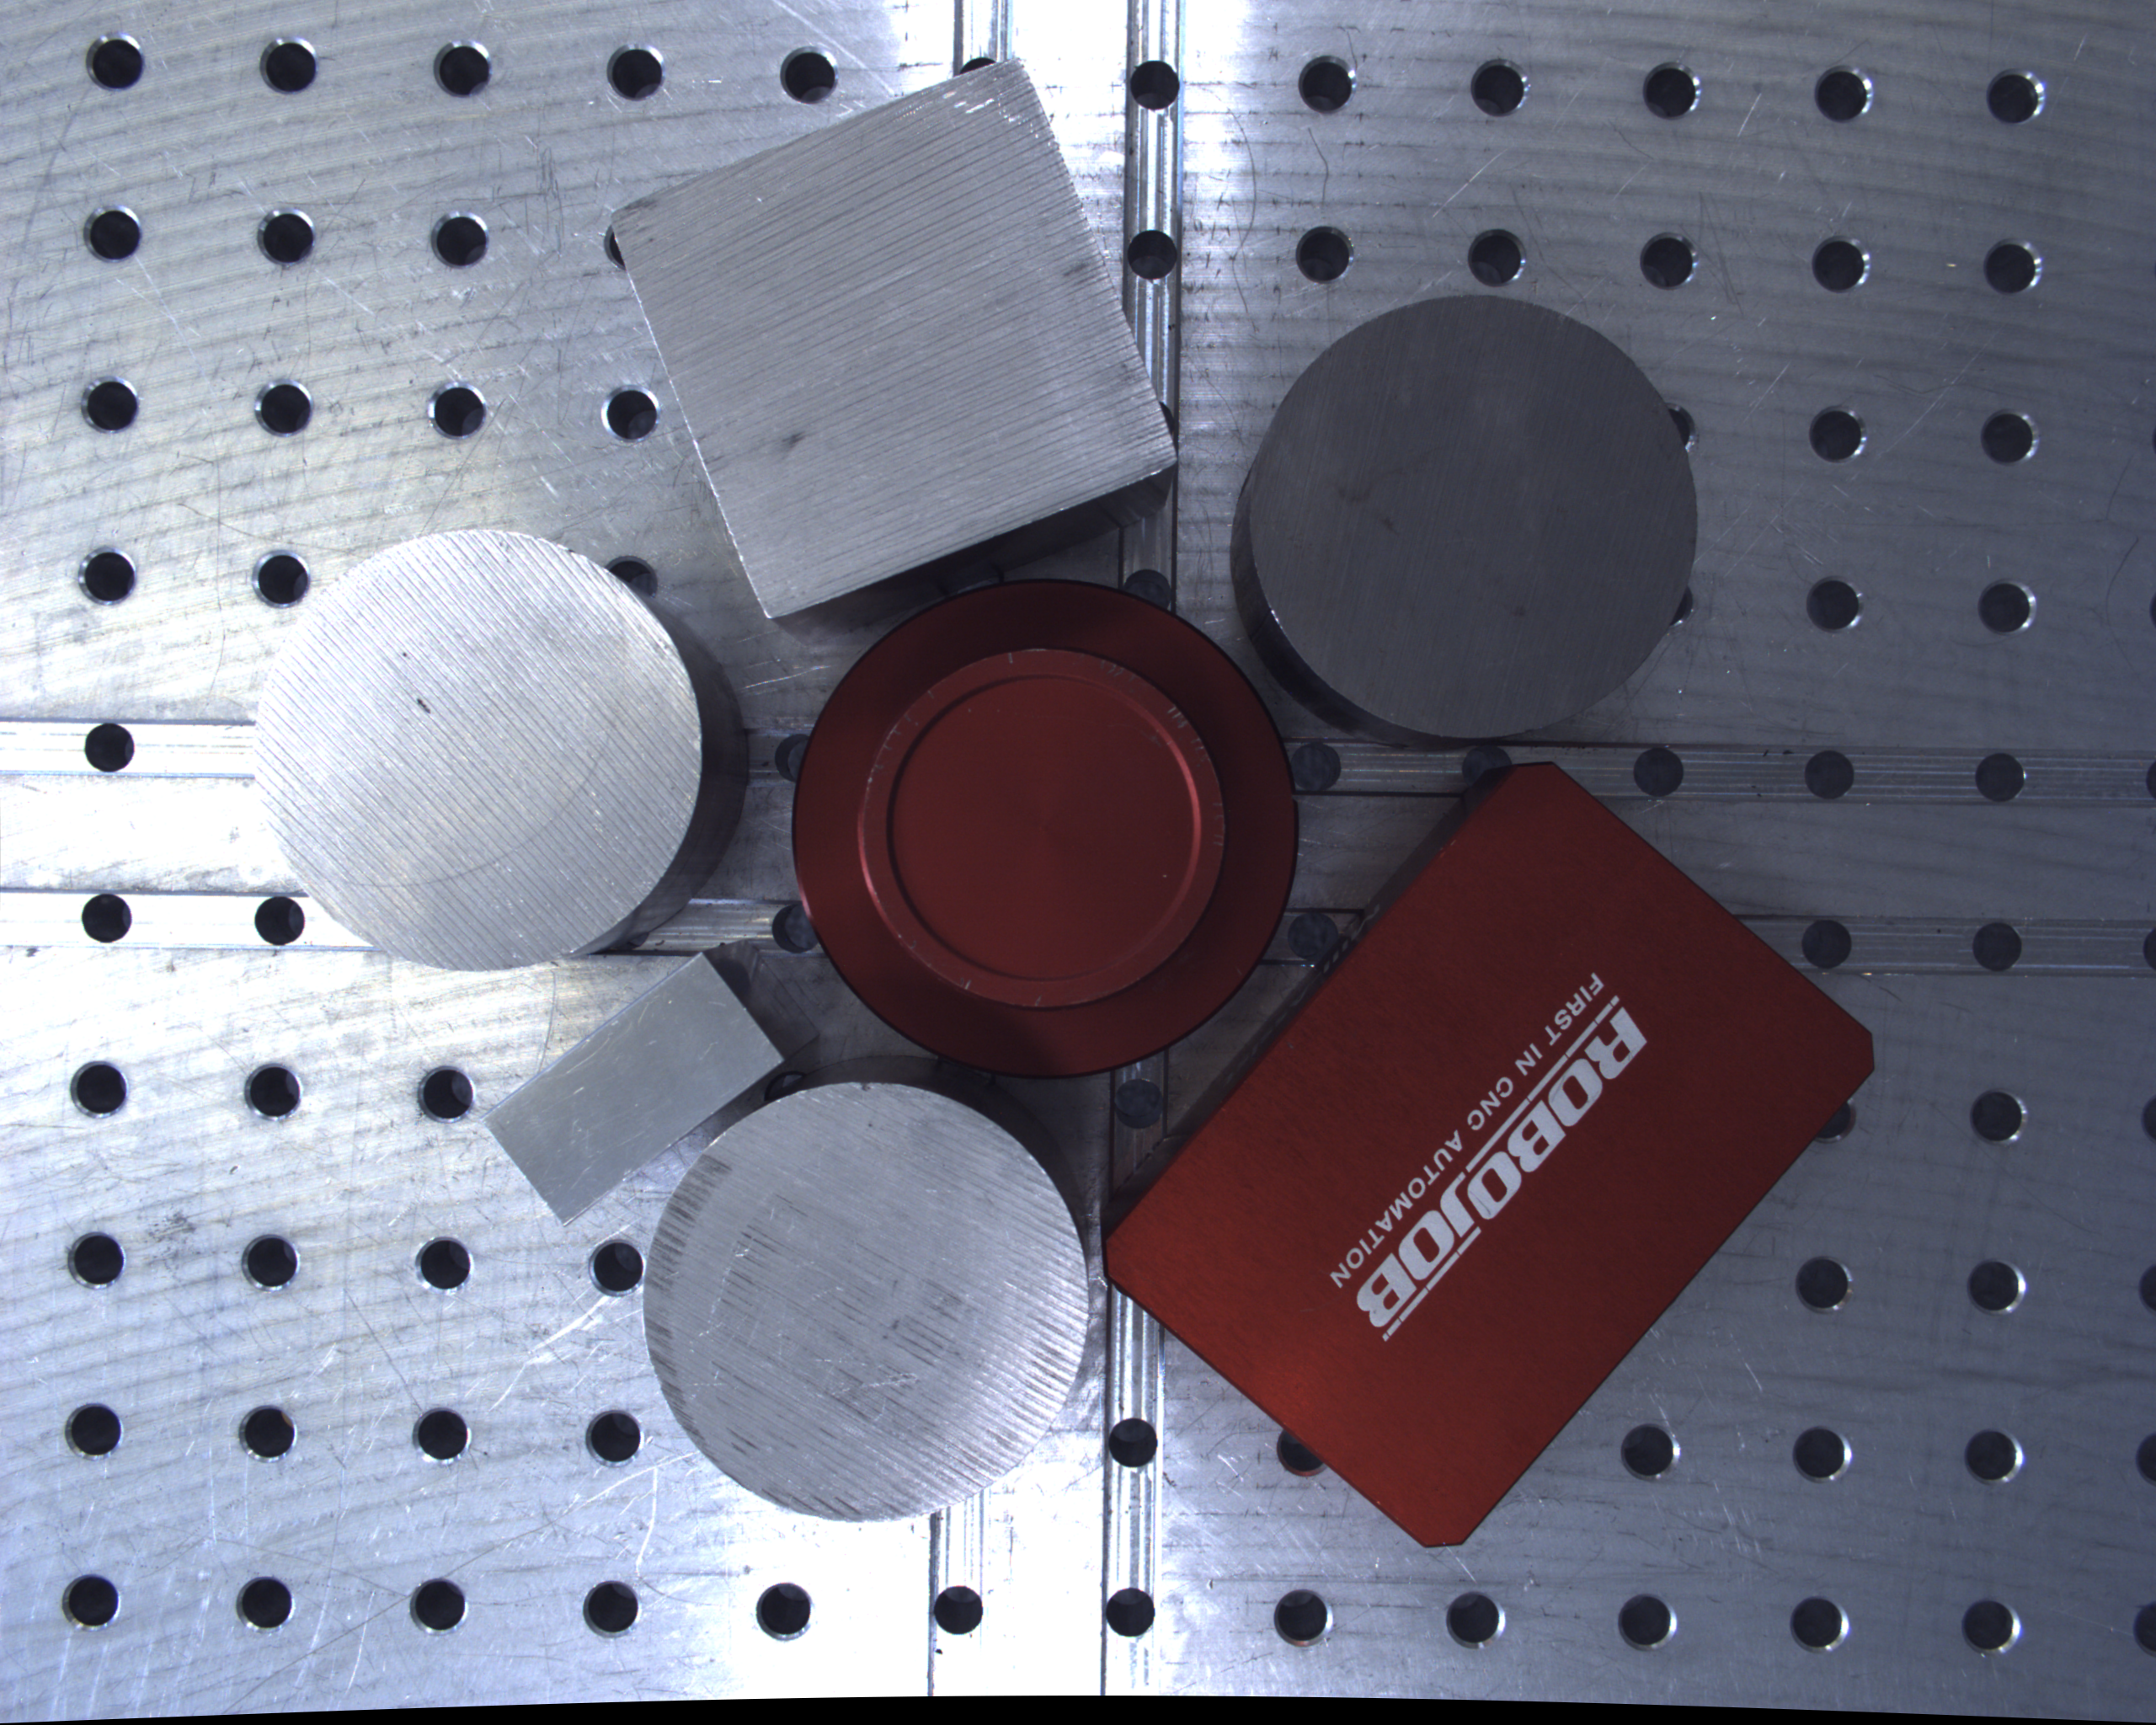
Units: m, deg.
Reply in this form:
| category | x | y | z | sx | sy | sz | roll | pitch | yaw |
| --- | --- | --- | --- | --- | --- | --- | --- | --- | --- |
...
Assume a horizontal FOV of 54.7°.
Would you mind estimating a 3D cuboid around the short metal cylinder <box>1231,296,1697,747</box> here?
| category | x | y | z | sx | sy | sz | roll | pitch | yaw |
| --- | --- | --- | --- | --- | --- | --- | --- | --- | --- |
| short metal cylinder | 0.071 | -0.062 | 0.401 | 0.081 | 0.050 | 0.080 | 0 | 90 | 0 |

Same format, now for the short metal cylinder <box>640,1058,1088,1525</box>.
| category | x | y | z | sx | sy | sz | roll | pitch | yaw |
| --- | --- | --- | --- | --- | --- | --- | --- | --- | --- |
| short metal cylinder | -0.038 | 0.079 | 0.400 | 0.081 | 0.050 | 0.080 | 0 | 90 | 0 |

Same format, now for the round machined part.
| category | x | y | z | sx | sy | sz | roll | pitch | yaw |
| --- | --- | --- | --- | --- | --- | --- | --- | --- | --- |
| round machined part | -0.006 | -0.006 | 0.404 | 0.099 | 0.042 | 0.097 | 0 | 90 | 0 |

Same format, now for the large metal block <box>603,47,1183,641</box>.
| category | x | y | z | sx | sy | sz | roll | pitch | yaw |
| --- | --- | --- | --- | --- | --- | --- | --- | --- | --- |
| large metal block | -0.033 | -0.096 | 0.400 | 0.080 | 0.050 | 0.080 | -21 | 90 | 0 |

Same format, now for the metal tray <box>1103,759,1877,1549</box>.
| category | x | y | z | sx | sy | sz | roll | pitch | yaw |
| --- | --- | --- | --- | --- | --- | --- | --- | --- | --- |
| metal tray | 0.079 | 0.055 | 0.410 | 0.090 | 0.030 | 0.130 | 41 | 89 | 0 |

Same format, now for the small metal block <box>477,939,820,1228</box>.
| category | x | y | z | sx | sy | sz | roll | pitch | yaw |
| --- | --- | --- | --- | --- | --- | --- | --- | --- | --- |
| small metal block | -0.080 | 0.041 | 0.399 | 0.050 | 0.050 | 0.025 | -37 | 90 | 0 |

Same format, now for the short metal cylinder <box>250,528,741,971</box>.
| category | x | y | z | sx | sy | sz | roll | pitch | yaw |
| --- | --- | --- | --- | --- | --- | --- | --- | --- | --- |
| short metal cylinder | -0.108 | -0.020 | 0.399 | 0.081 | 0.050 | 0.080 | 0 | 90 | 0 |
